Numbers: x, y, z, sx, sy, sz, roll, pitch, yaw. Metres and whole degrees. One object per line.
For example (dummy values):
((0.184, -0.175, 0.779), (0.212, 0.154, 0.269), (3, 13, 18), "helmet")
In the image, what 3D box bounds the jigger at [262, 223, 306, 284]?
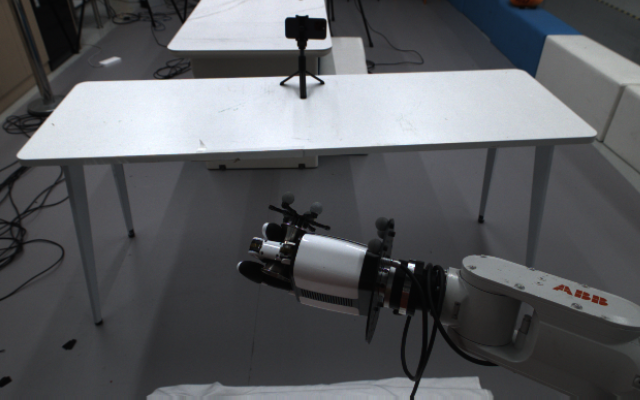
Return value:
((-0.044, 0.068, 0.641), (0.043, 0.043, 0.071), (15, 70, 18), "jigger")
